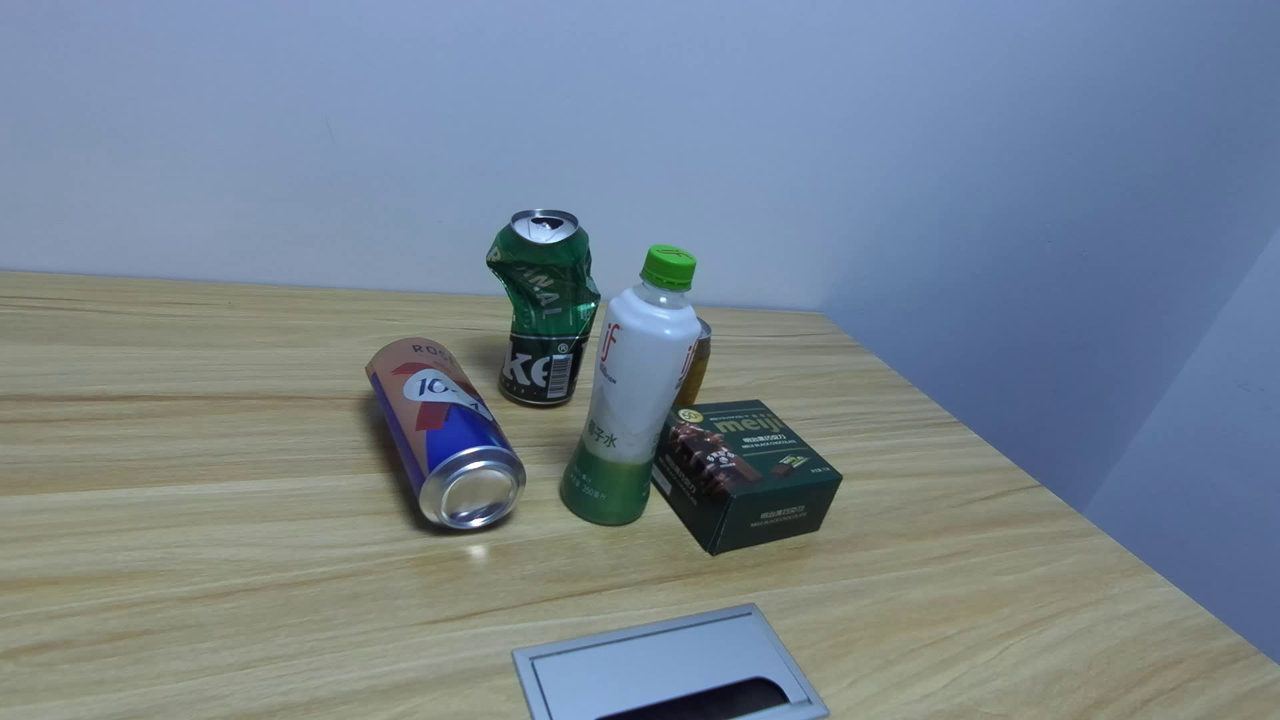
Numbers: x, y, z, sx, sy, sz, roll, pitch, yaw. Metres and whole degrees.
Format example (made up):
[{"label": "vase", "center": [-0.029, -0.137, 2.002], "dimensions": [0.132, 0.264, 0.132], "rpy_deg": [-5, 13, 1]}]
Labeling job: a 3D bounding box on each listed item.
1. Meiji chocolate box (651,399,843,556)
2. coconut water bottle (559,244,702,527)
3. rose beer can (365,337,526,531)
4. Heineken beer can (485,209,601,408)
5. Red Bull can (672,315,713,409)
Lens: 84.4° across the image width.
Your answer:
[{"label": "Meiji chocolate box", "center": [0.074, 0.084, 0.539], "dimensions": [0.110, 0.056, 0.108], "rpy_deg": [-2, 31, -32]}, {"label": "coconut water bottle", "center": [-0.004, 0.018, 0.467], "dimensions": [0.063, 0.188, 0.063], "rpy_deg": [13, 26, -6]}, {"label": "rose beer can", "center": [-0.137, 0.043, 0.491], "dimensions": [0.070, 0.069, 0.167], "rpy_deg": [-21, 39, -22]}, {"label": "Heineken beer can", "center": [-0.077, -0.040, 0.581], "dimensions": [0.067, 0.159, 0.079], "rpy_deg": [26, 33, 32]}, {"label": "Red Bull can", "center": [0.022, 0.007, 0.614], "dimensions": [0.069, 0.092, 0.069], "rpy_deg": [15, 22, -6]}]
